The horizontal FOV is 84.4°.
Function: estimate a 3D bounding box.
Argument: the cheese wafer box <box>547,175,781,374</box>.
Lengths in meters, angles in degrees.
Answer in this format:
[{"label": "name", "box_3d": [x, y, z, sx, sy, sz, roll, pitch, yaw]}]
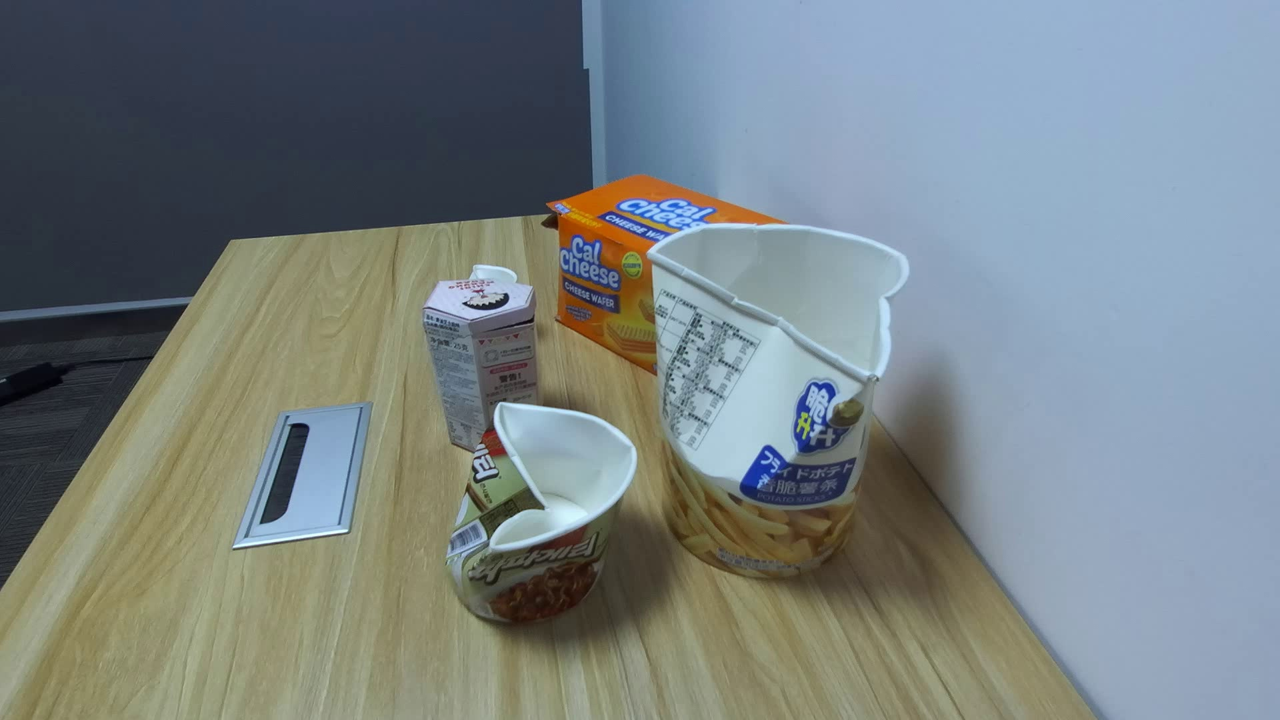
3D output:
[{"label": "cheese wafer box", "box_3d": [0.031, -0.086, 0.714, 0.226, 0.137, 0.150, 28, 44, 35]}]

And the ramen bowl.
[{"label": "ramen bowl", "box_3d": [-0.070, 0.105, 0.472, 0.137, 0.098, 0.137, 0, 38, 0]}]

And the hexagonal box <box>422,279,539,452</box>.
[{"label": "hexagonal box", "box_3d": [-0.124, 0.005, 0.585, 0.092, 0.135, 0.084, -18, 37, -23]}]

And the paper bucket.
[{"label": "paper bucket", "box_3d": [0.081, 0.028, 0.494, 0.162, 0.202, 0.169, 12, 34, 19]}]
